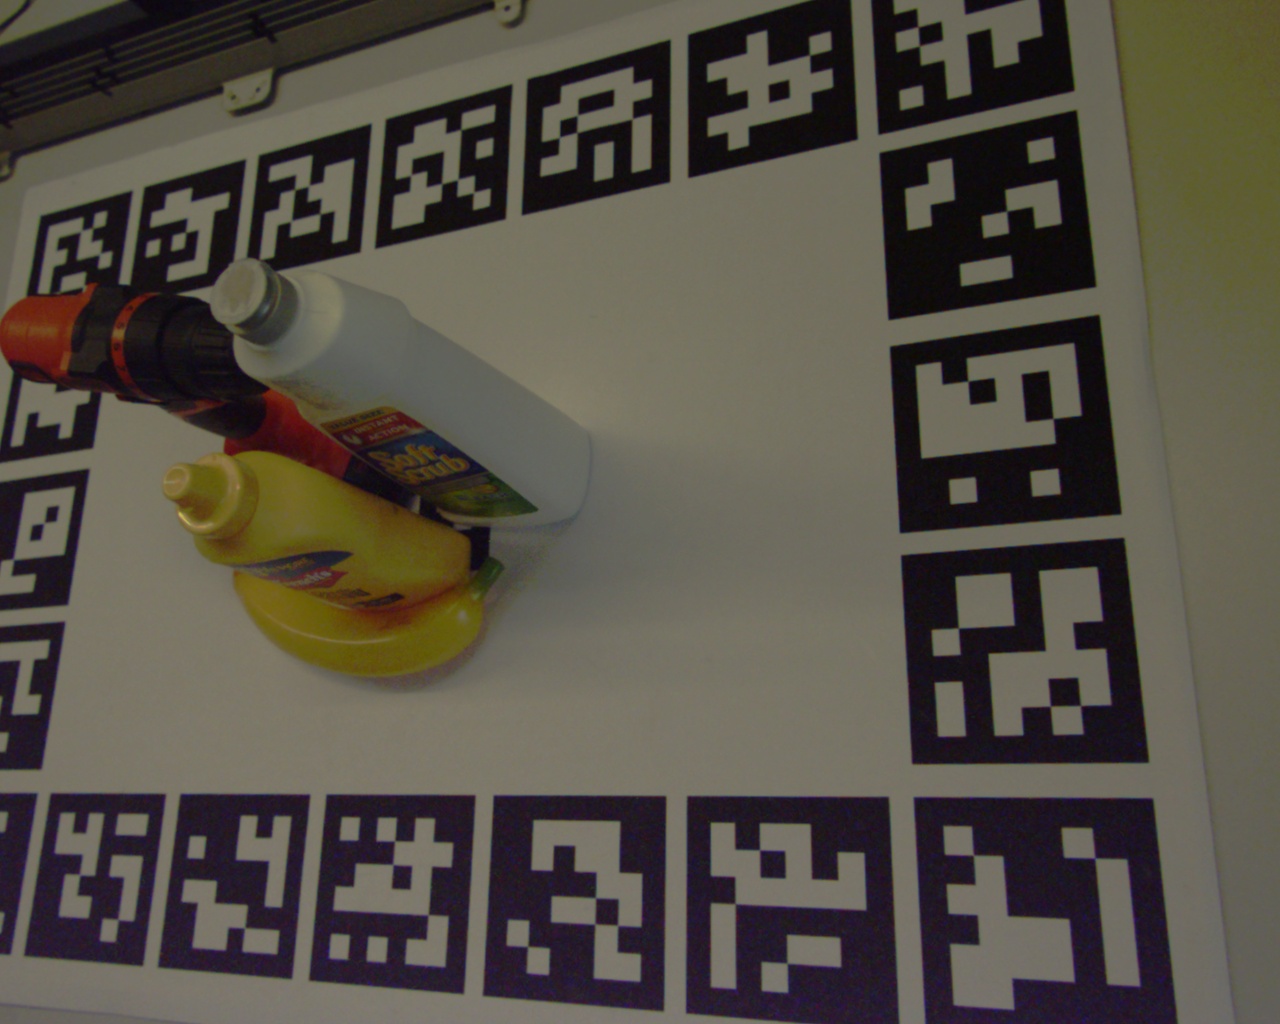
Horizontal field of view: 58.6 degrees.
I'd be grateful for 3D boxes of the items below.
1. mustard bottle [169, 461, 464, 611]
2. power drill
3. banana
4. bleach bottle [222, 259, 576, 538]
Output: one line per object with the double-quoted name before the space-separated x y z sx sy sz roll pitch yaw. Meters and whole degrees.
"mustard bottle" -0.184 0.013 0.632 0.097 0.189 0.058 -5 75 22
"power drill" -0.229 -0.057 0.648 0.186 0.185 0.057 8 78 24
"banana" -0.170 0.063 0.708 0.200 0.038 0.074 -1 77 27
"bleach bottle" -0.128 -0.055 0.598 0.104 0.248 0.068 -3 70 23
